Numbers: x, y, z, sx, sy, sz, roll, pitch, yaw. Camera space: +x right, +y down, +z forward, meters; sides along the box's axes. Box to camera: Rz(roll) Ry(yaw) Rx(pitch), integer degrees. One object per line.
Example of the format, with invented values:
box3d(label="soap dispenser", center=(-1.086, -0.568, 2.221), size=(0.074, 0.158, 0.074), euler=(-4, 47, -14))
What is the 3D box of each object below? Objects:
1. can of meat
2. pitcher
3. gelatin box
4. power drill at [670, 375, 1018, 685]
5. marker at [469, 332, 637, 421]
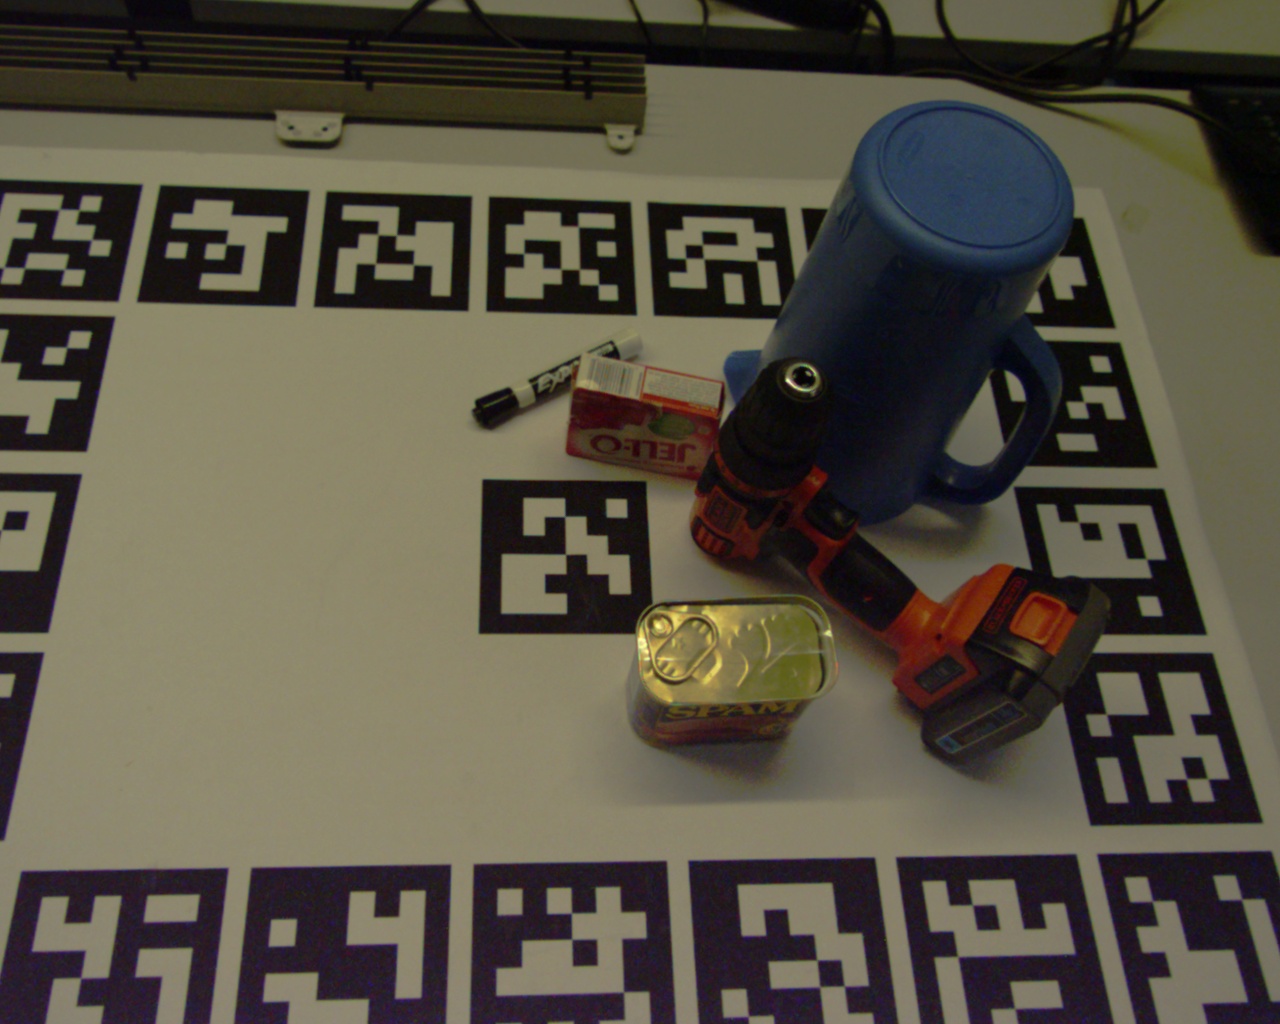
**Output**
box3d(label="can of meat", center=(0.039, 0.091, 0.643), size=(0.101, 0.084, 0.058), euler=(-1, 62, -7))
box3d(label="pitcher", center=(0.153, -0.089, 0.668), size=(0.190, 0.242, 0.133), euler=(27, 67, 14))
box3d(label="gelatin box", center=(0.001, -0.052, 0.721), size=(0.089, 0.073, 0.030), euler=(11, 67, -3))
box3d(label="power drill", center=(0.108, 0.013, 0.638), size=(0.187, 0.185, 0.057), euler=(34, 67, 4))
box3d(label="marker", center=(-0.058, -0.090, 0.761), size=(0.120, 0.019, 0.020), euler=(-25, 70, -16))
